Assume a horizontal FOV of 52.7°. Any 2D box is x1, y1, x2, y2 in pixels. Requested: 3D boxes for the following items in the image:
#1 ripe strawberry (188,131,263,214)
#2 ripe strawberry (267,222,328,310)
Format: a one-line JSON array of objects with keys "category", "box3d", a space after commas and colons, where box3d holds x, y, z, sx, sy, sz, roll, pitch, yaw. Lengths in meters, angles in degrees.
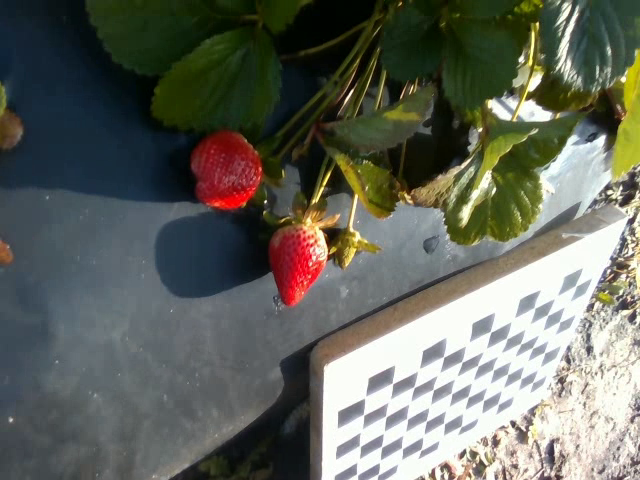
[{"category": "ripe strawberry", "box3d": [-0.053, -0.037, 0.353, 0.039, 0.048, 0.054, 30, 33, 21]}, {"category": "ripe strawberry", "box3d": [-0.012, 0.015, 0.377, 0.038, 0.053, 0.043, -5, -20, 38]}]
